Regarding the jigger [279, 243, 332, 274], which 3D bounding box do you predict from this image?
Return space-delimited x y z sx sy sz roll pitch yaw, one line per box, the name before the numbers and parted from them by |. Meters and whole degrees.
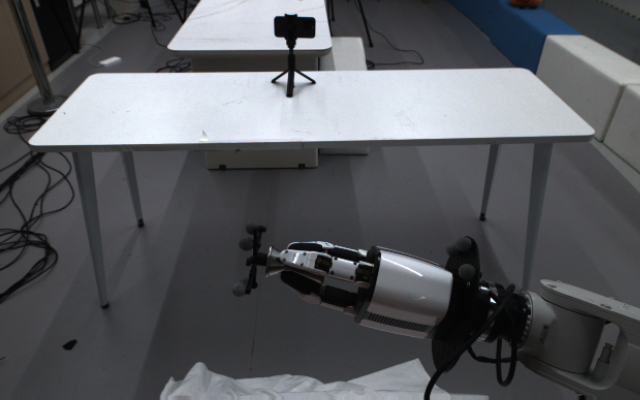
jigger | -0.020 0.074 0.575 0.071 0.043 0.043 7 35 2
